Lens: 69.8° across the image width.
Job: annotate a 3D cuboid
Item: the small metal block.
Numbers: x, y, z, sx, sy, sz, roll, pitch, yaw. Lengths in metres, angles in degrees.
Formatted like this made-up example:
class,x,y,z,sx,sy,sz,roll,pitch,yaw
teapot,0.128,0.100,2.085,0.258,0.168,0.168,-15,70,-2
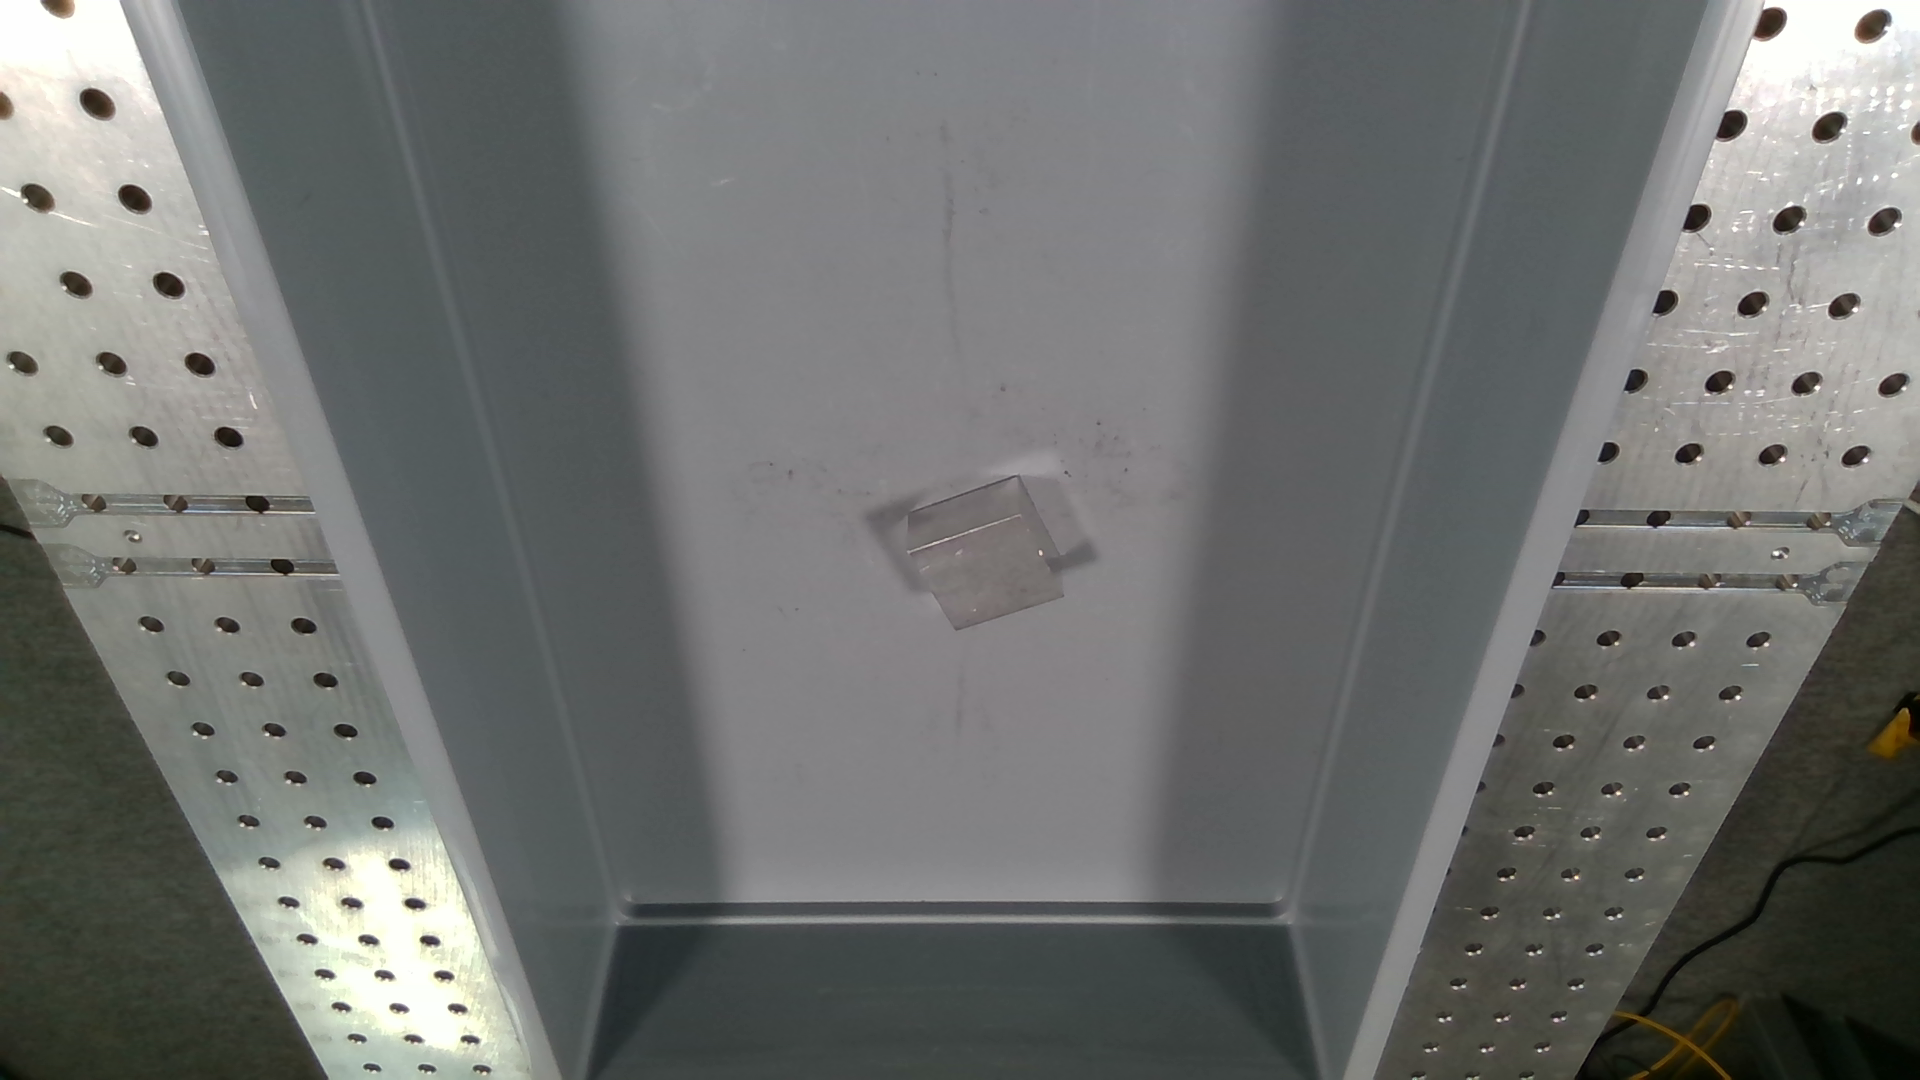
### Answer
class,x,y,z,sx,sy,sz,roll,pitch,yaw
small metal block,0.011,0.006,0.580,0.050,0.025,0.050,-18,128,15
